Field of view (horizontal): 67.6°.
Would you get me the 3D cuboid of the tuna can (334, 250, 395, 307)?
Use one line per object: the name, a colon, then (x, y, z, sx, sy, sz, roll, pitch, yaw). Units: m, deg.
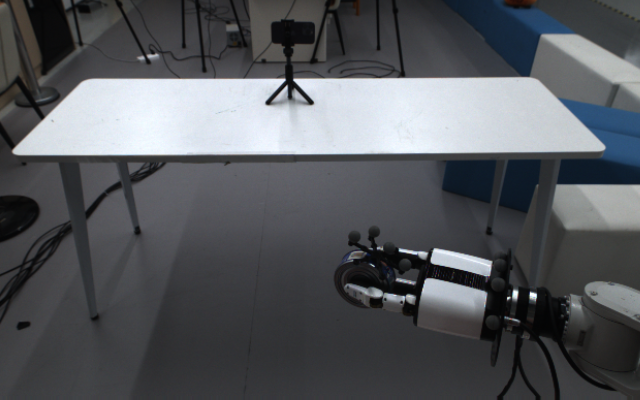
tuna can: (0.068, 0.121, 0.702, 0.085, 0.085, 0.034, 15, 31, 18)
